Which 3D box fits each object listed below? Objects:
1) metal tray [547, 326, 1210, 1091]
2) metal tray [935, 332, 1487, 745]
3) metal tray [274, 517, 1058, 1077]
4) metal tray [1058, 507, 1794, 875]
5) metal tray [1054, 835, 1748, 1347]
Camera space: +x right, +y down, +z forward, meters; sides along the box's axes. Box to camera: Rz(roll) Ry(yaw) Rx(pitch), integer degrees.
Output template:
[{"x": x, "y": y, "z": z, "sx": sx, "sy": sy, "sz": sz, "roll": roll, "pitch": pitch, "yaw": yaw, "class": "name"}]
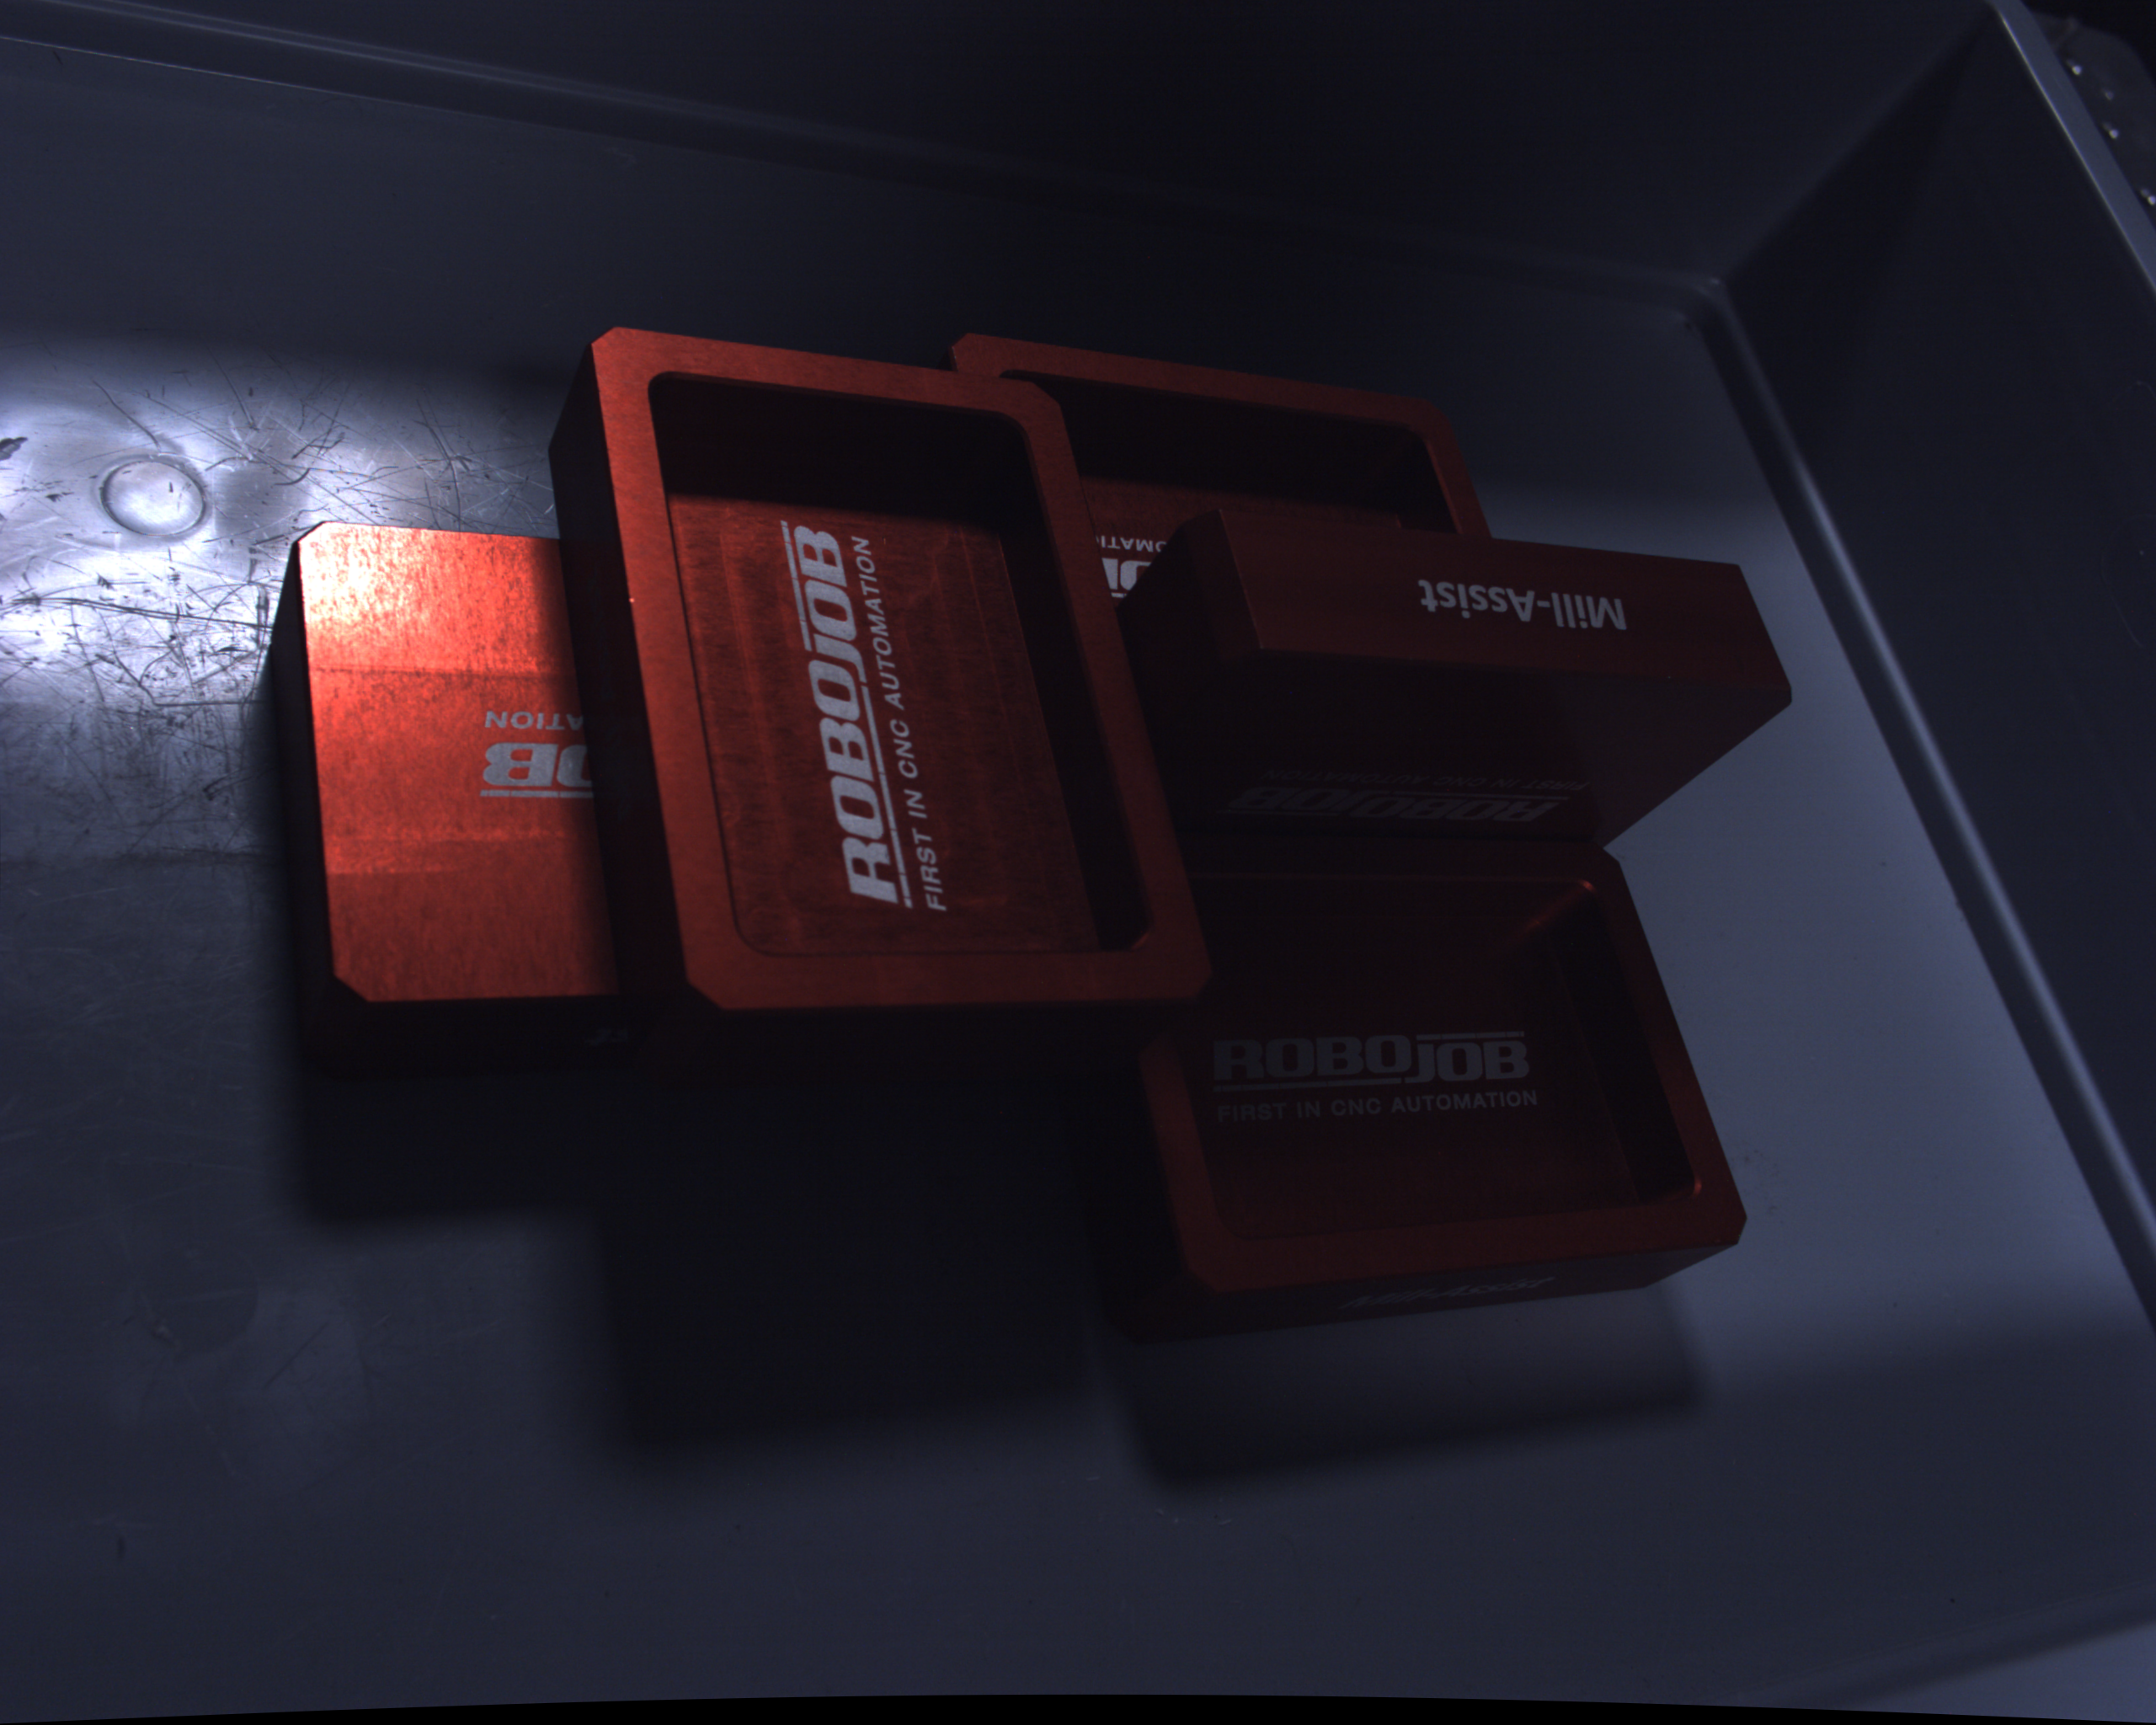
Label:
[{"x": -0.037, "y": -0.028, "z": 0.359, "sx": 0.091, "sy": 0.030, "sz": 0.130, "roll": 1, "pitch": 61, "yaw": -28, "class": "metal tray"}, {"x": 0.033, "y": -0.065, "z": 0.460, "sx": 0.131, "sy": 0.030, "sz": 0.090, "roll": 1, "pitch": 61, "yaw": -28, "class": "metal tray"}, {"x": -0.069, "y": -0.012, "z": 0.369, "sx": 0.131, "sy": 0.030, "sz": 0.090, "roll": 0, "pitch": 62, "yaw": -29, "class": "metal tray"}, {"x": 0.062, "y": -0.026, "z": 0.412, "sx": 0.131, "sy": 0.090, "sz": 0.030, "roll": 1, "pitch": 62, "yaw": -28, "class": "metal tray"}, {"x": 0.061, "y": 0.041, "z": 0.409, "sx": 0.131, "sy": 0.030, "sz": 0.090, "roll": 1, "pitch": 62, "yaw": -28, "class": "metal tray"}]
